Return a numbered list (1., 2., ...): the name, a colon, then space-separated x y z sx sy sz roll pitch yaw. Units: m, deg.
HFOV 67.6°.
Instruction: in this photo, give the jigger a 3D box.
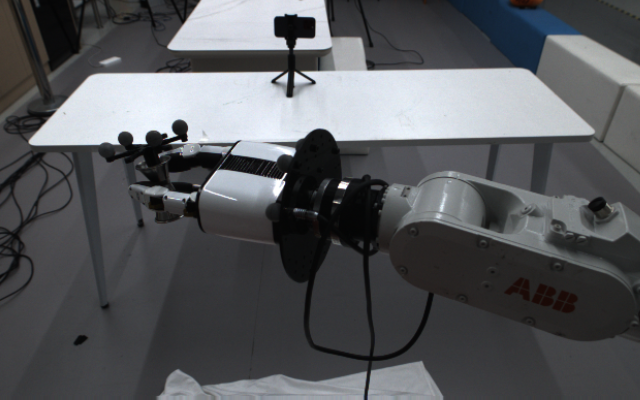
1. jigger: -0.179 -0.012 0.561 0.043 0.071 0.043 -12 24 5
